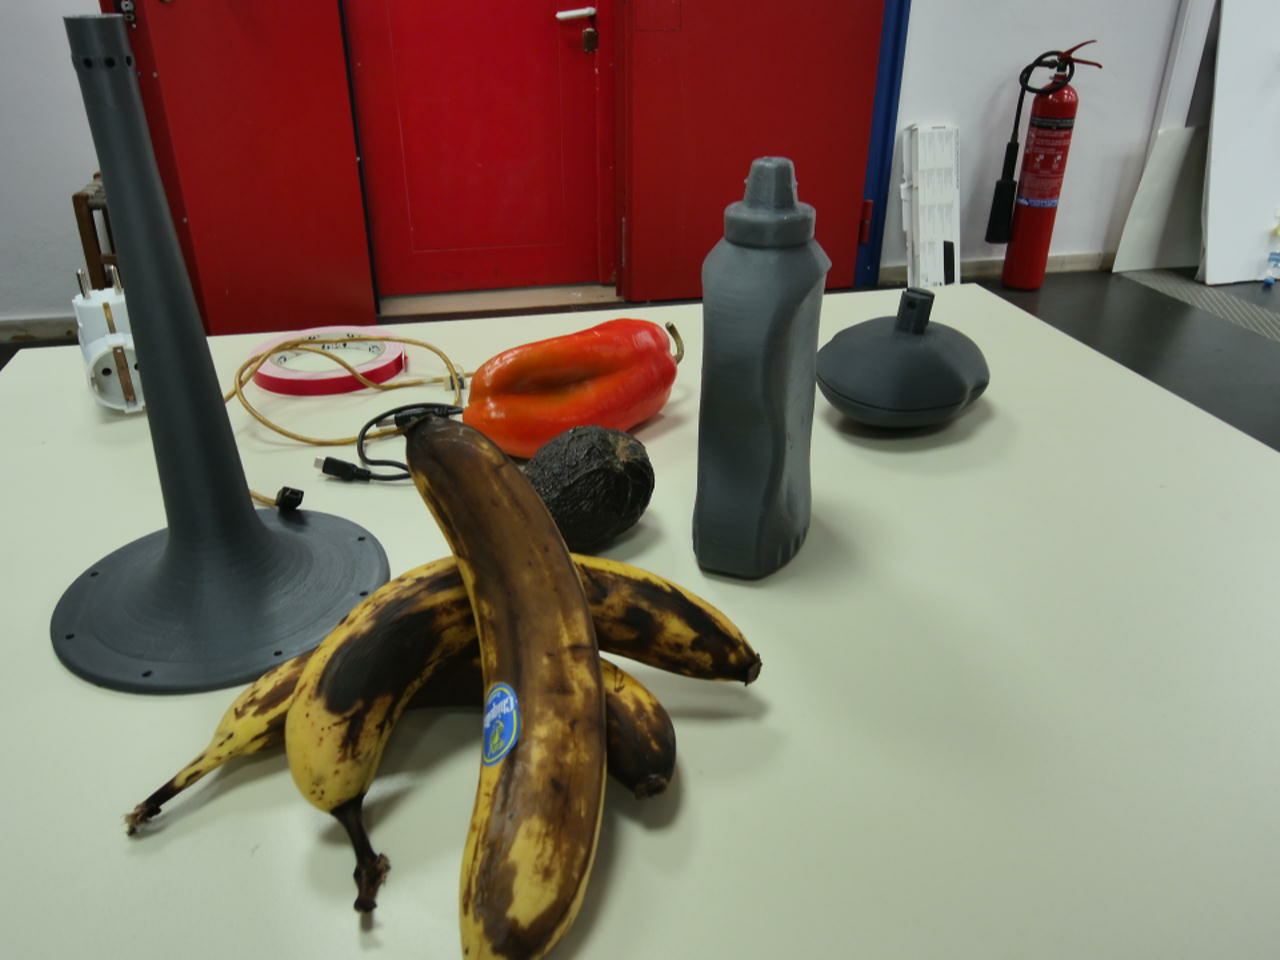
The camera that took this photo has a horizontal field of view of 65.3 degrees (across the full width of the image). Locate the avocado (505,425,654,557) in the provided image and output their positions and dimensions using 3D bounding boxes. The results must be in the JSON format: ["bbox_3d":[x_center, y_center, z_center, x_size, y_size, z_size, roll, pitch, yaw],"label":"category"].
[{"bbox_3d":[-0.033,0.005,0.524,0.092,0.062,0.062,-18,31,-32],"label":"avocado"}]
